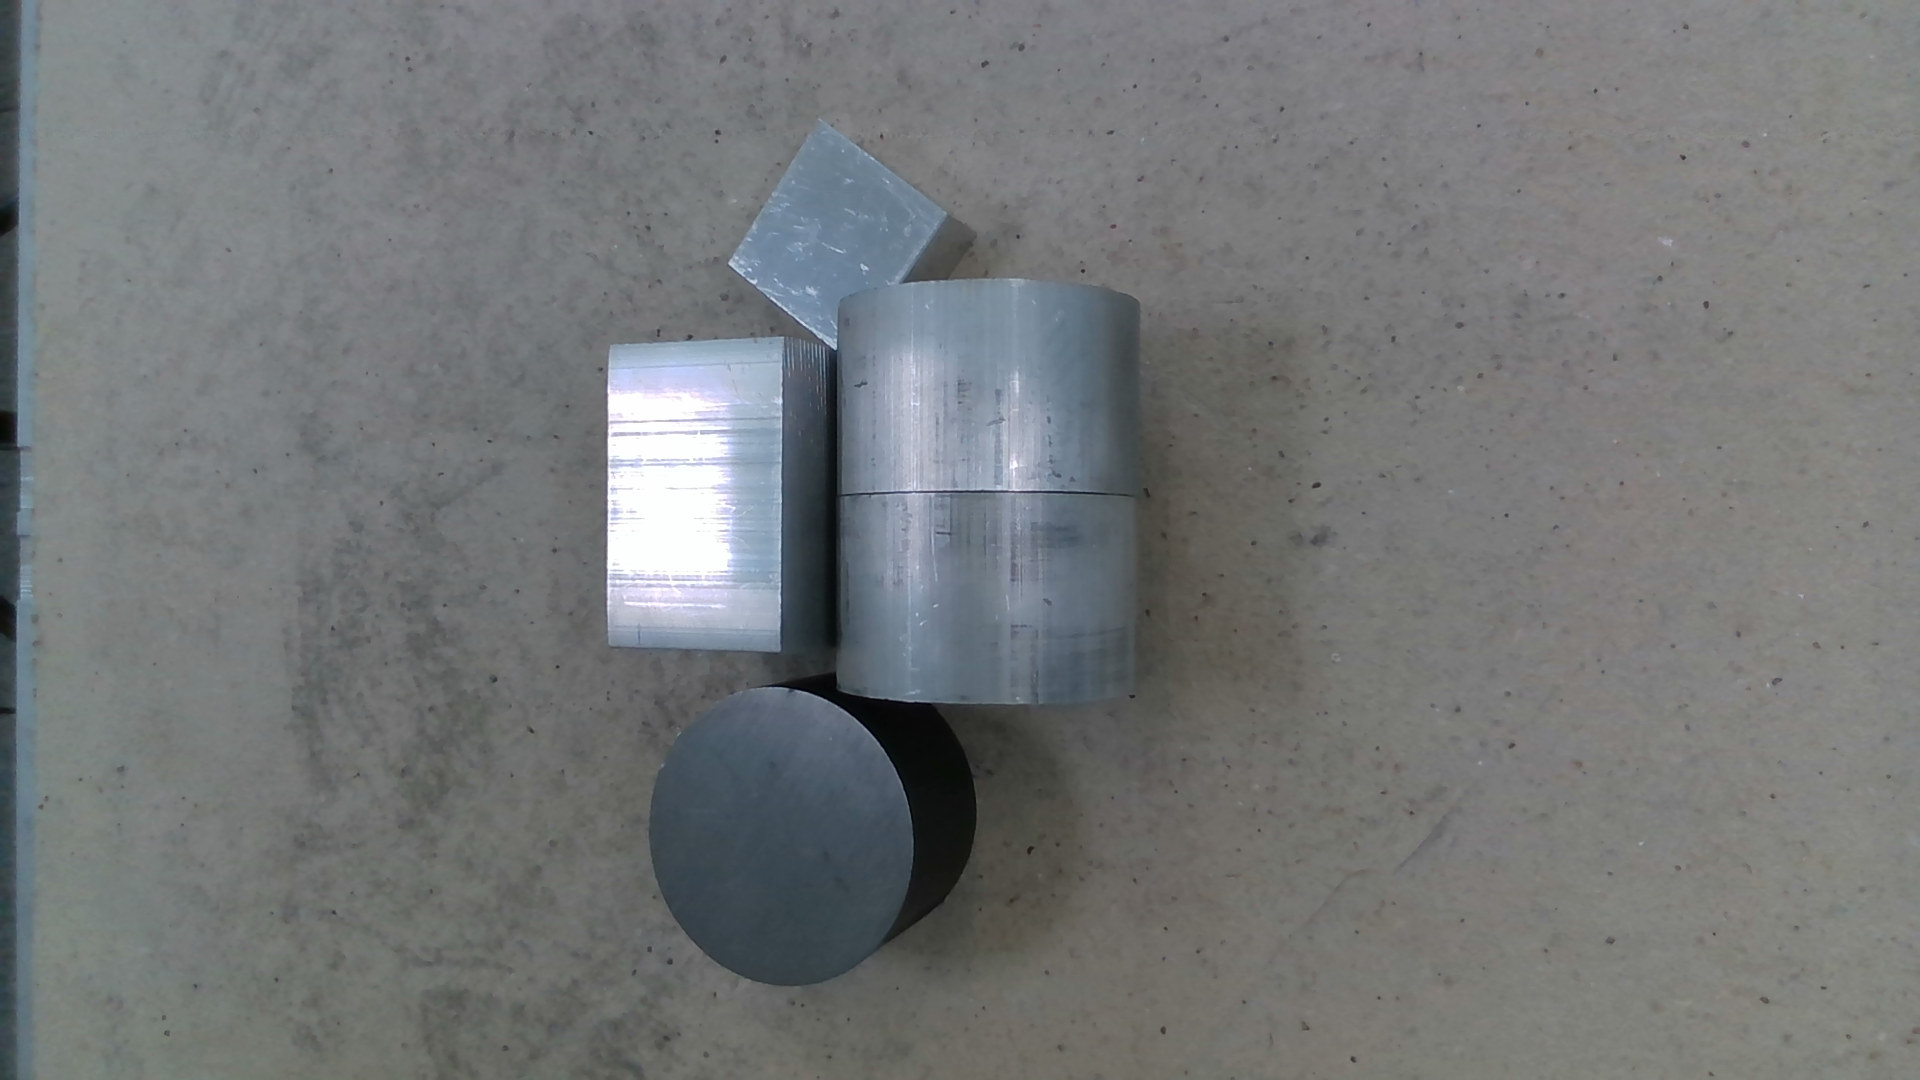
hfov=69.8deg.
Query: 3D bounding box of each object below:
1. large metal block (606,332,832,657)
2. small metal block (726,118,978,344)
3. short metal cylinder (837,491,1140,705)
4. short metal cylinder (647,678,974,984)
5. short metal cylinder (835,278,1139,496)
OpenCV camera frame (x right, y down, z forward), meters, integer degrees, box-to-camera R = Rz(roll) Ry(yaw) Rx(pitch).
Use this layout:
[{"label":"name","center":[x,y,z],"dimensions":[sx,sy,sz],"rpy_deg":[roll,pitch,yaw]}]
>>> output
[{"label":"large metal block","center":[-0.054,-0.011,0.385],"dimensions":[0.050,0.080,0.080],"rpy_deg":[1,90,20]},{"label":"small metal block","center":[-0.032,-0.086,0.406],"dimensions":[0.050,0.025,0.050],"rpy_deg":[39,103,16]},{"label":"short metal cylinder","center":[0.008,0.014,0.363],"dimensions":[0.080,0.080,0.050],"rpy_deg":[1,90,20]},{"label":"short metal cylinder","center":[-0.042,0.080,0.396],"dimensions":[0.080,0.050,0.080],"rpy_deg":[0,90,20]},{"label":"short metal cylinder","center":[0.007,-0.037,0.363],"dimensions":[0.080,0.080,0.050],"rpy_deg":[1,90,20]}]
